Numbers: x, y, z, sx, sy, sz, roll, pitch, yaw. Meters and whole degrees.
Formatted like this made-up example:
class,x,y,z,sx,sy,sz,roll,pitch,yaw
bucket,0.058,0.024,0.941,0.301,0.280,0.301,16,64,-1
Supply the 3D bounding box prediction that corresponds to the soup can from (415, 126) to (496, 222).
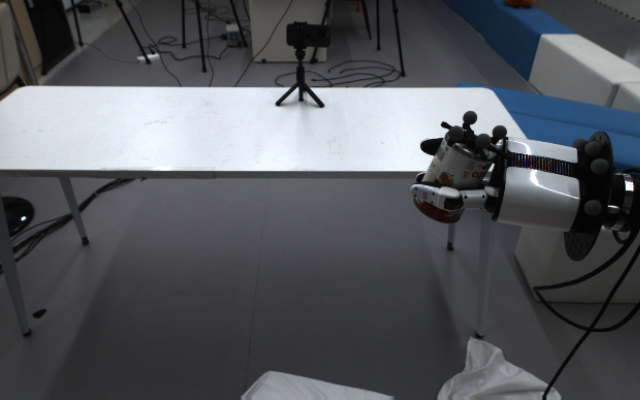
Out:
class,x,y,z,sx,sy,sz,roll,pitch,yaw
soup can,0.171,-0.030,0.616,0.067,0.101,0.067,14,35,-10
